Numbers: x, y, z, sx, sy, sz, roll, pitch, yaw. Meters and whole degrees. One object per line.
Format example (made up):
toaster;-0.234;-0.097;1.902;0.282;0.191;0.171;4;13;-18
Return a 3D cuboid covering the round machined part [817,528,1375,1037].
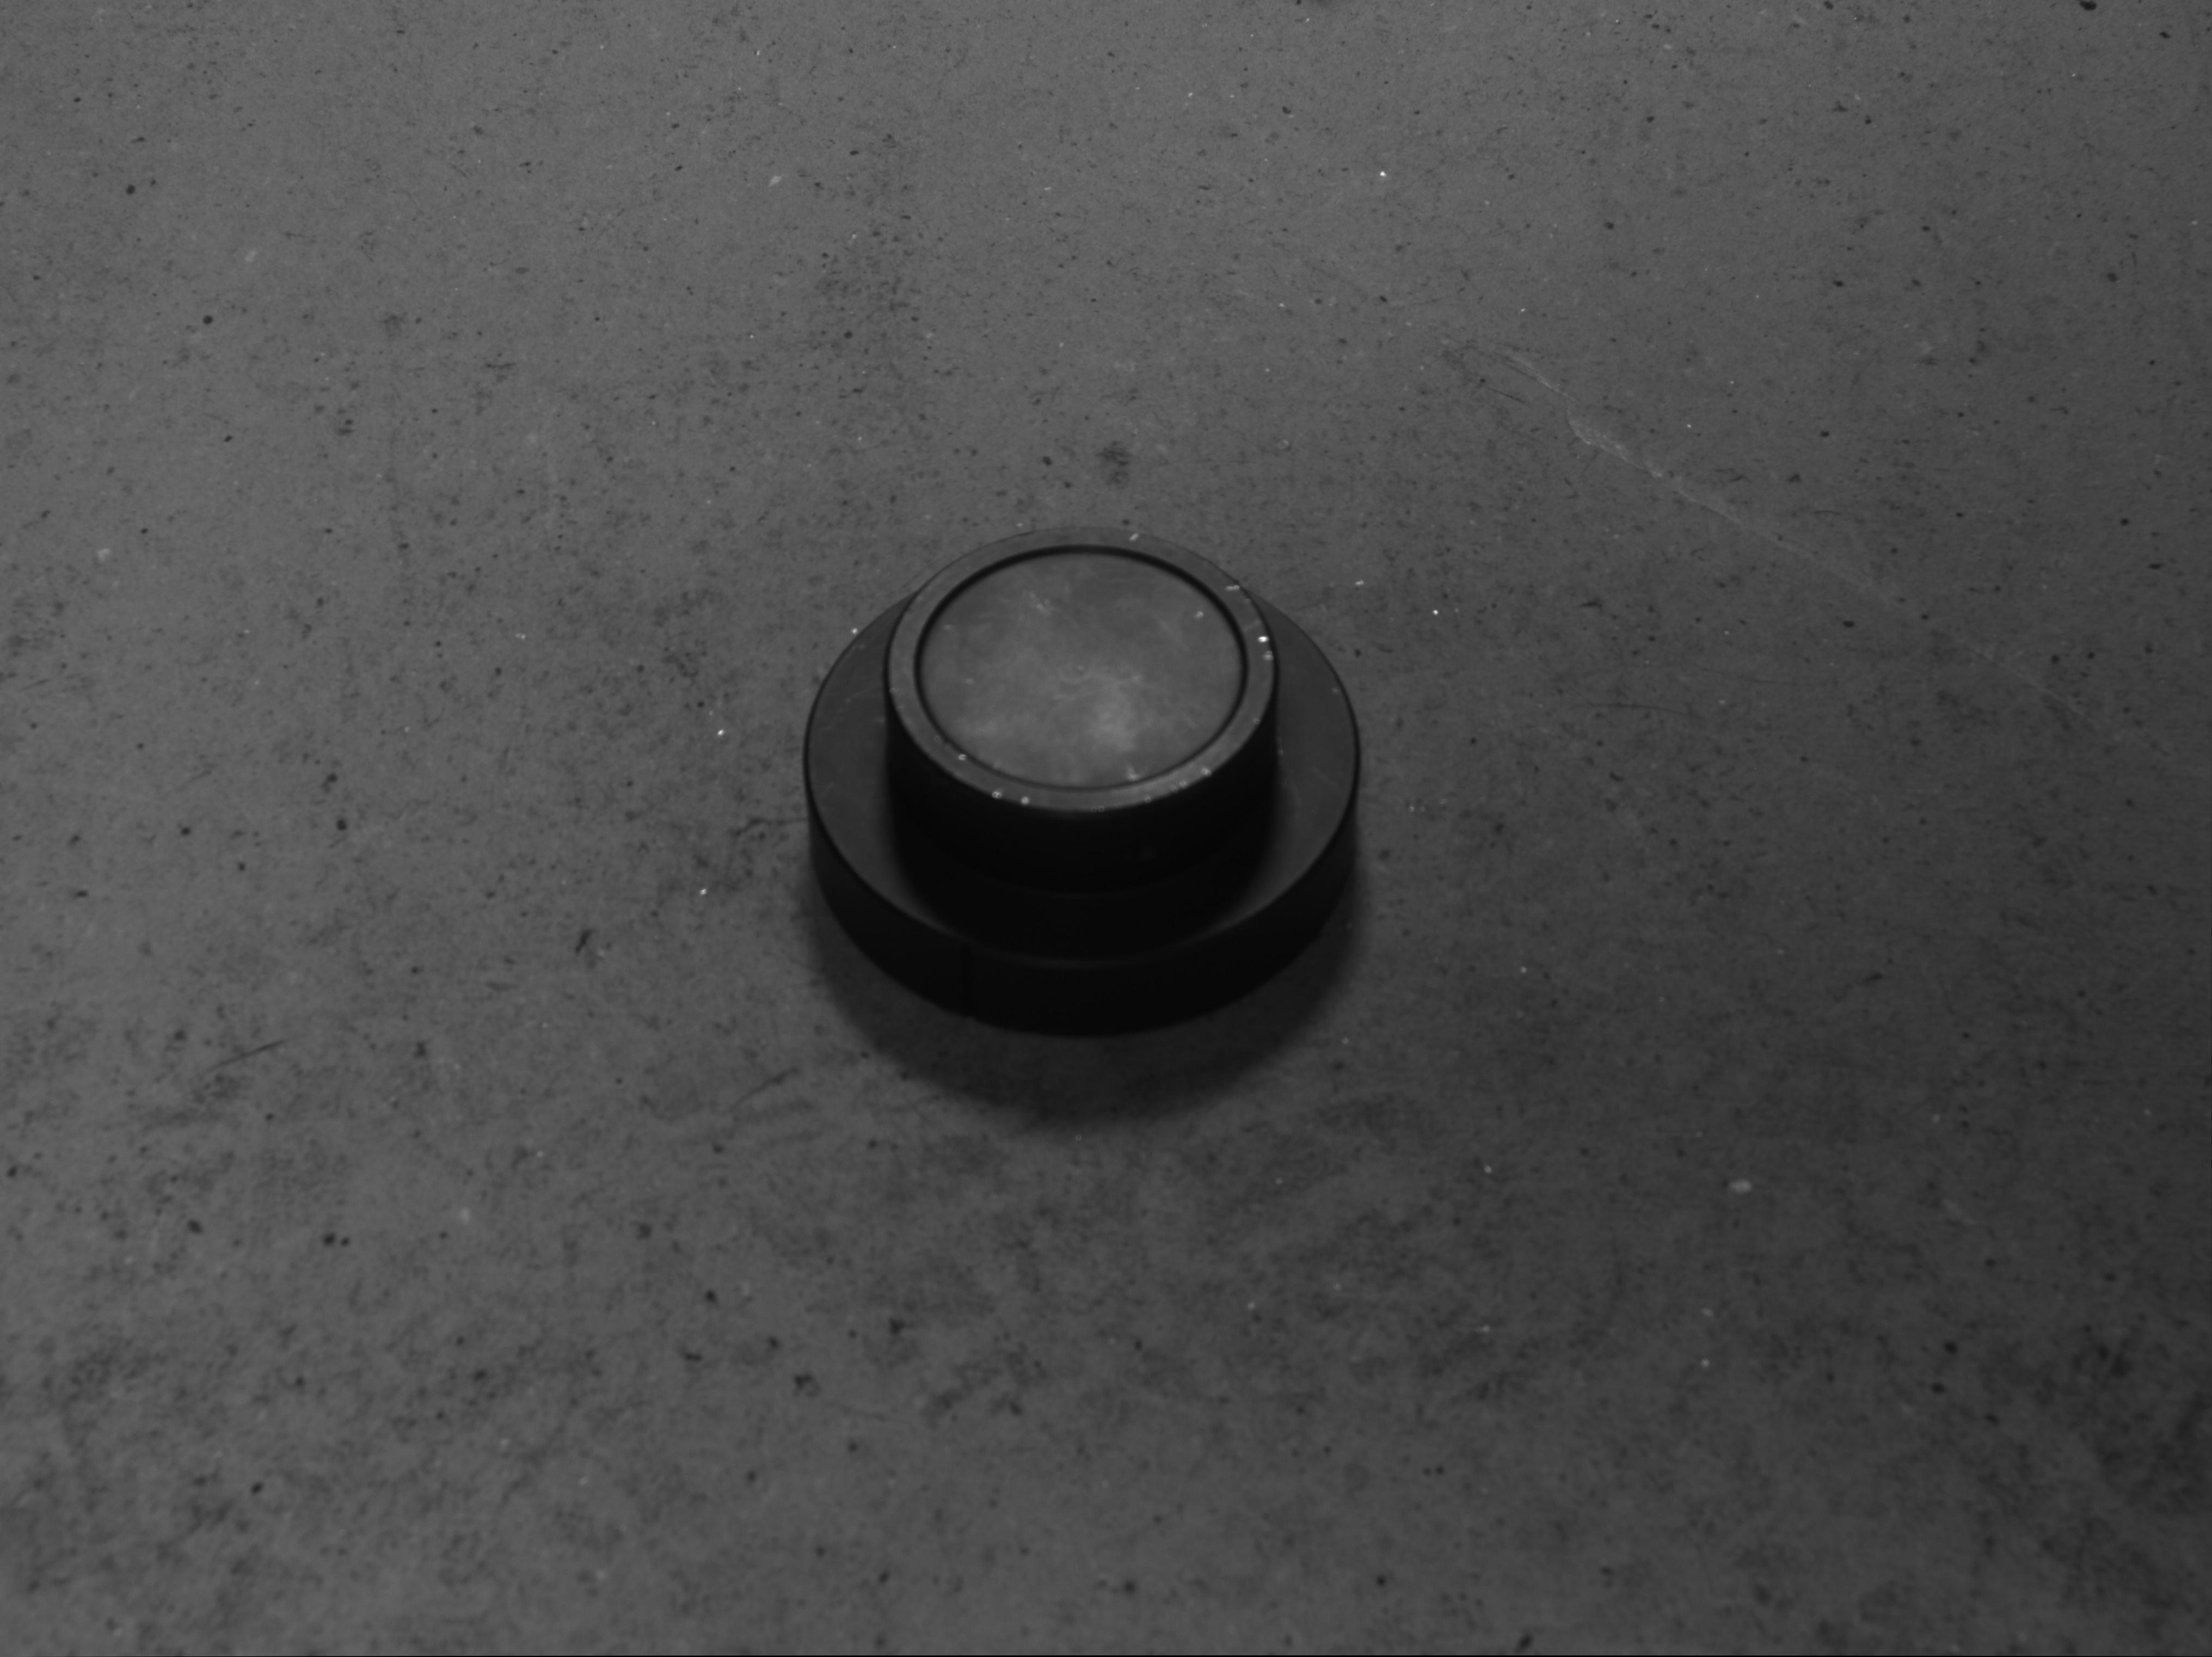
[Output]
round machined part;-0.002;-0.014;0.643;0.098;0.042;0.098;0;50;0
